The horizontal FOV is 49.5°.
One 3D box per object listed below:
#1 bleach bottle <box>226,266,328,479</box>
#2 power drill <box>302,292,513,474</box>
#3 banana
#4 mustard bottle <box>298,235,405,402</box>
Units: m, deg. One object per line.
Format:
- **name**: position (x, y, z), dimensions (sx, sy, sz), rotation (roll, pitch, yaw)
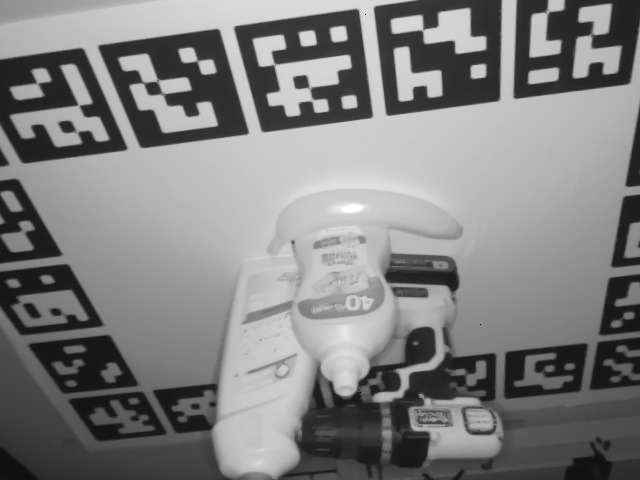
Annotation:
- **bleach bottle**: position (-0.032, 0.136, 0.659), dimensions (0.102, 0.253, 0.067), rotation (-4, 133, 3)
- **power drill**: position (0.079, 0.132, 0.662), dimensions (0.185, 0.188, 0.057), rotation (4, 128, -1)
- **banana**: position (0.046, -0.009, 0.688), dimensions (0.198, 0.039, 0.073), rotation (-4, 126, 0)
- **mustard bottle**: position (0.029, 0.068, 0.639), dimensions (0.096, 0.193, 0.058), rotation (-5, 127, 6)
